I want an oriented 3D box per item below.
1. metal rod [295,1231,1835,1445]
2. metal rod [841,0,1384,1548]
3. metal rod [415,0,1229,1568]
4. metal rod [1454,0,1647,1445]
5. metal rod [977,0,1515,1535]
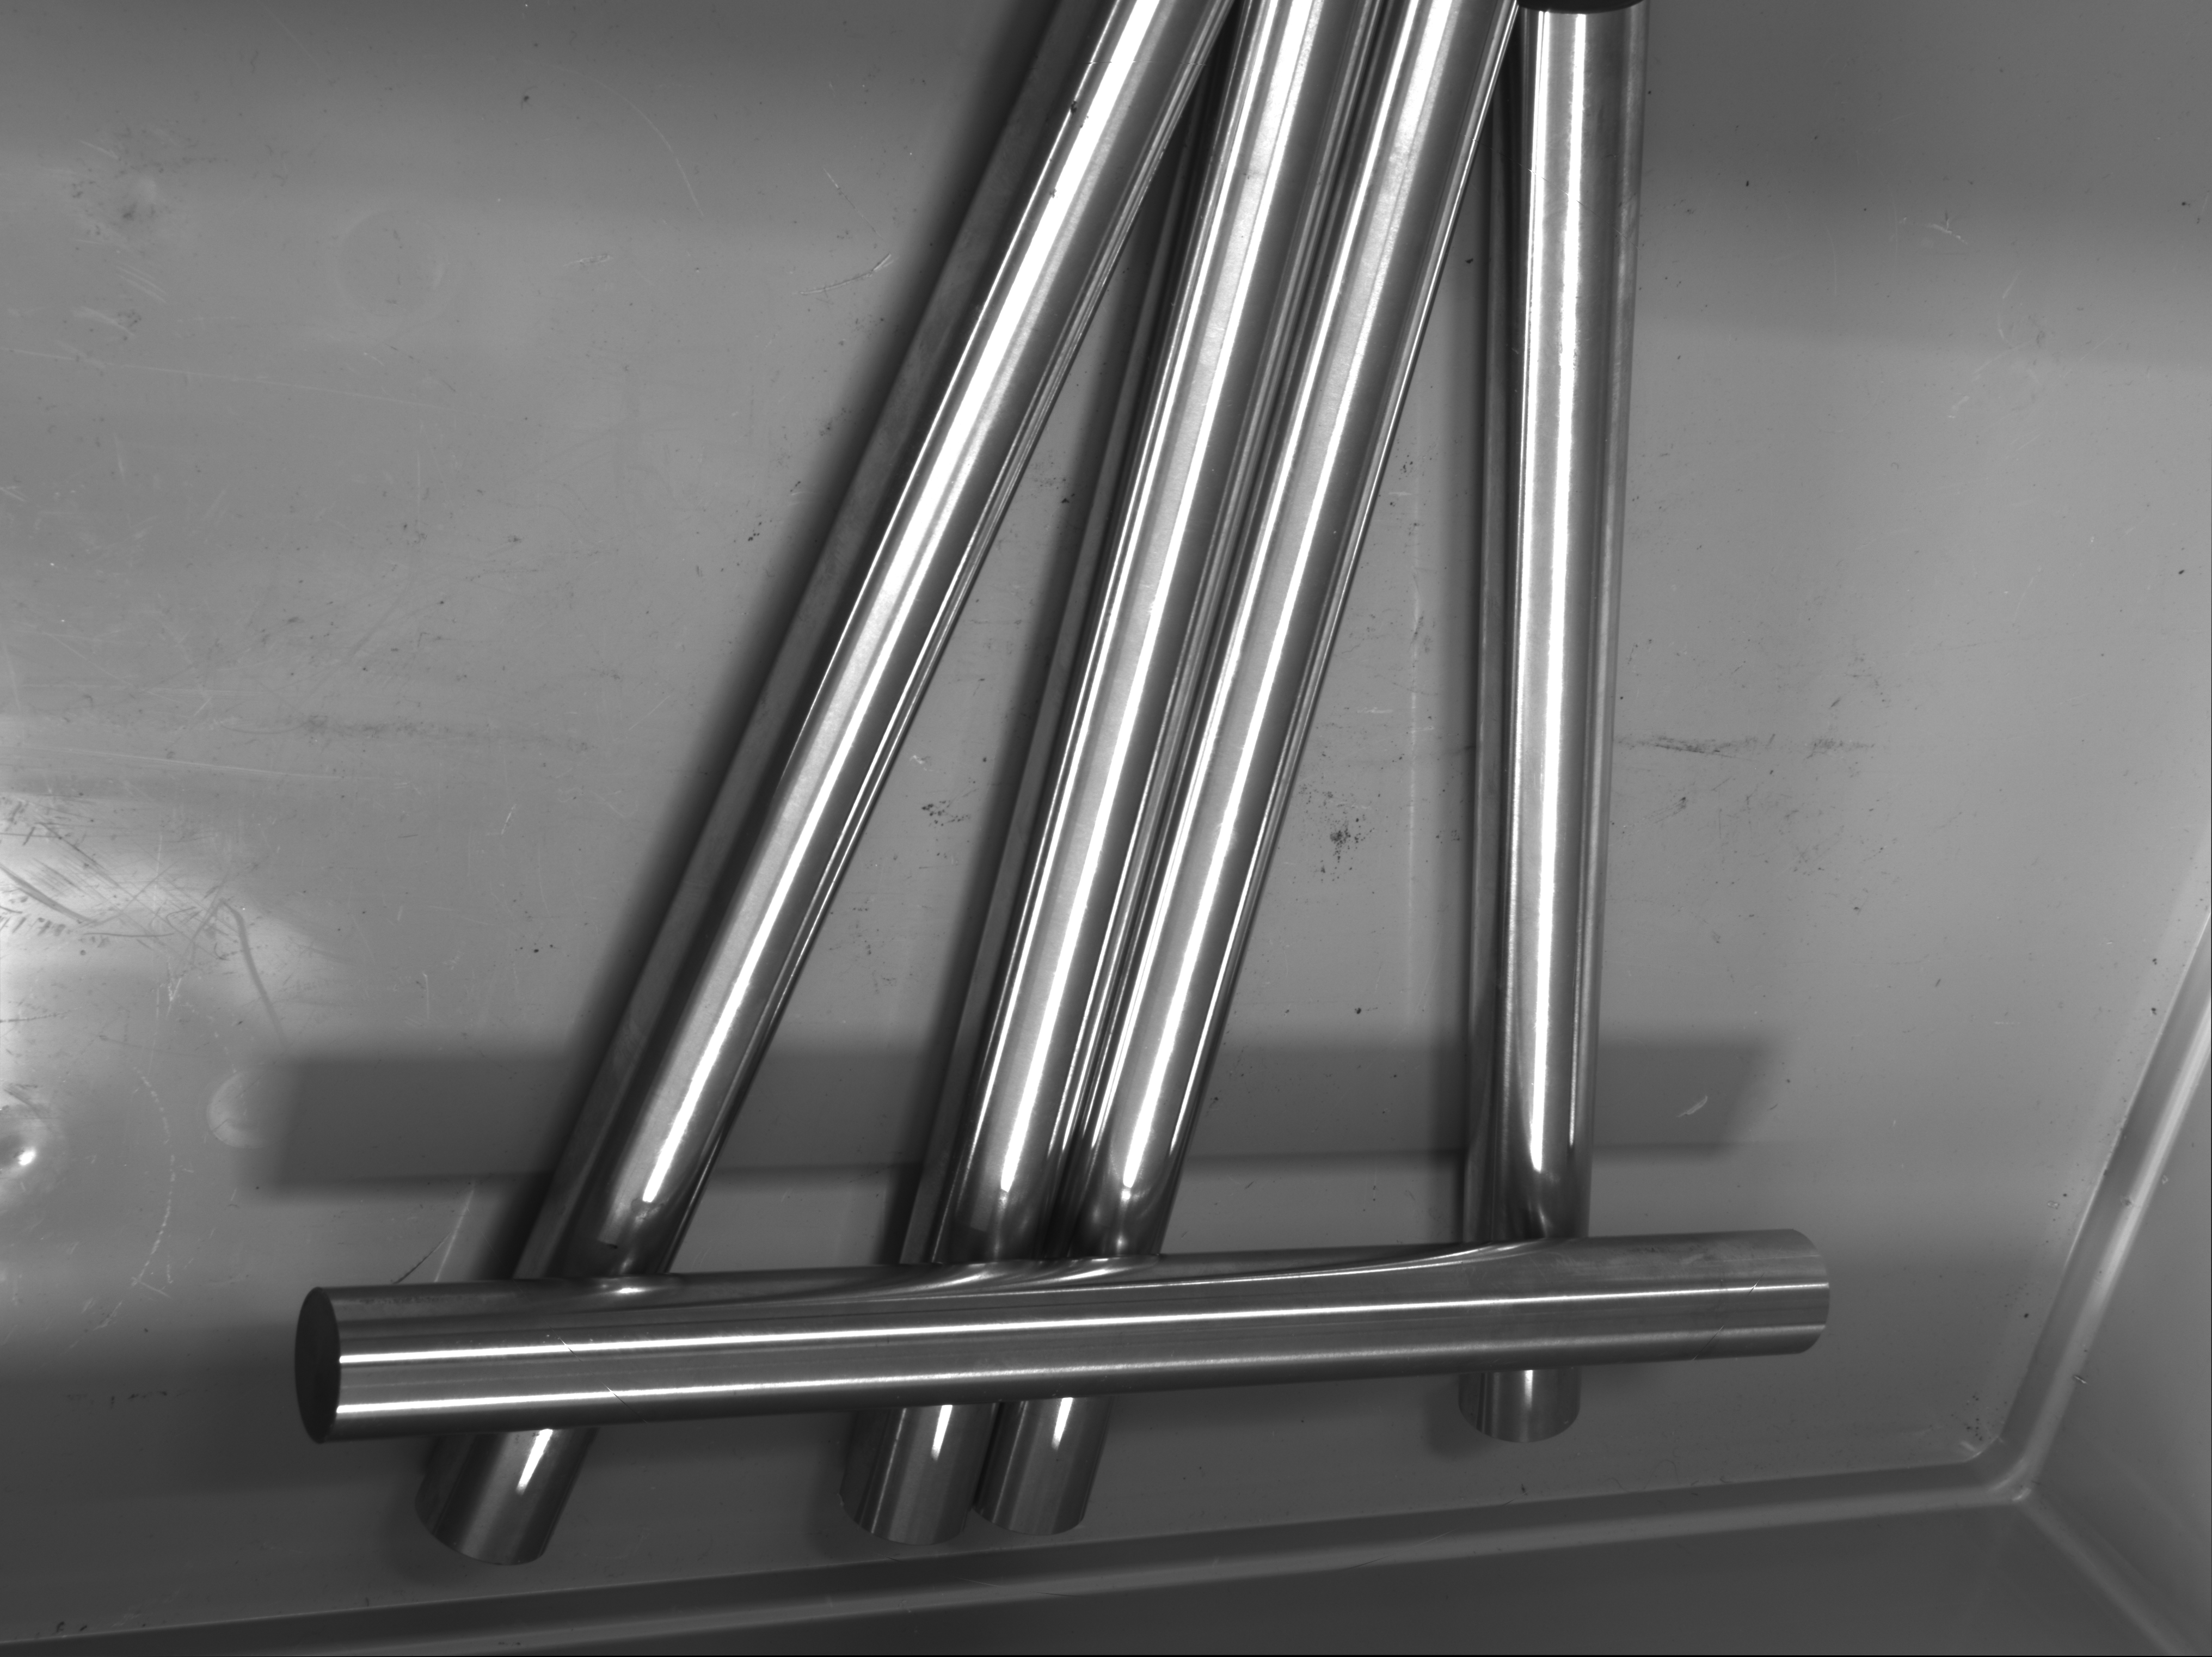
[{"bbox_3d":[0.006,0.089,0.660,0.301,0.025,0.025,1,117,-29],"label":"metal rod"},{"bbox_3d":[-0.003,-0.004,0.632,0.025,0.025,0.300,1,118,-29],"label":"metal rod"},{"bbox_3d":[-0.051,-0.006,0.605,0.025,0.025,0.300,13,112,-33],"label":"metal rod"},{"bbox_3d":[0.080,-0.009,0.673,0.025,0.025,0.300,-15,124,-20],"label":"metal rod"},{"bbox_3d":[0.019,-0.004,0.644,0.025,0.025,0.300,1,118,-28],"label":"metal rod"}]
